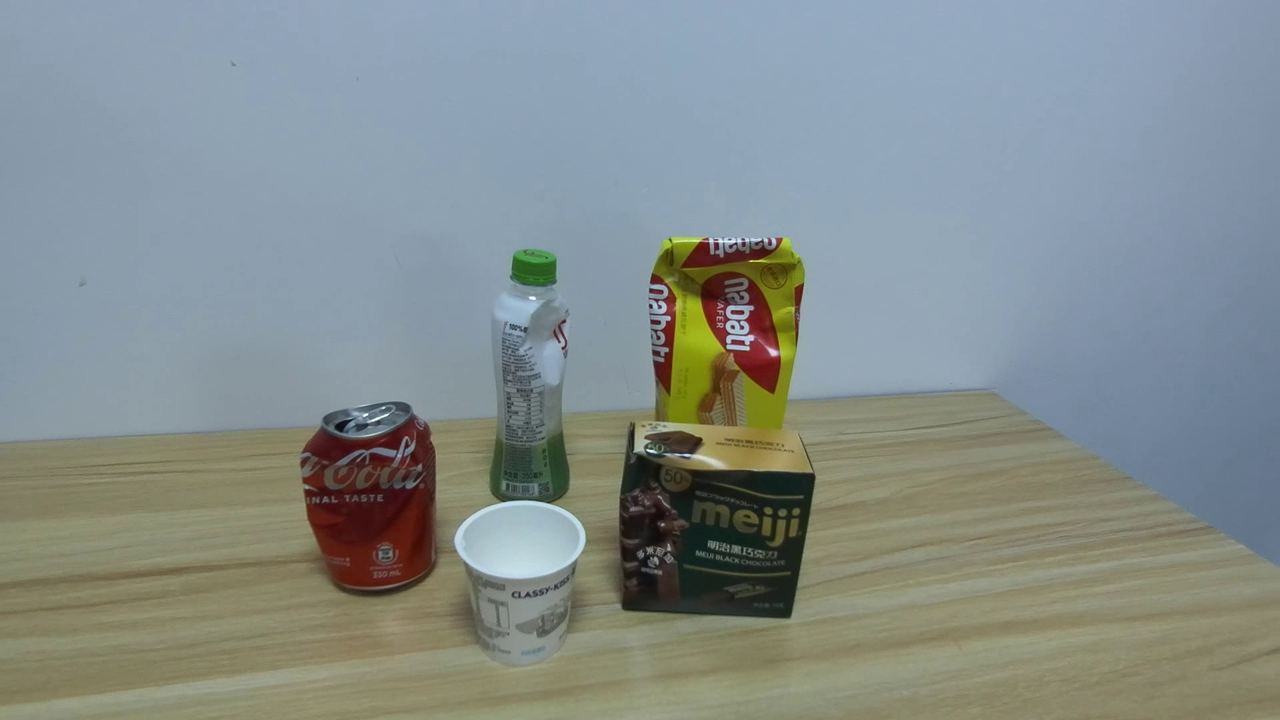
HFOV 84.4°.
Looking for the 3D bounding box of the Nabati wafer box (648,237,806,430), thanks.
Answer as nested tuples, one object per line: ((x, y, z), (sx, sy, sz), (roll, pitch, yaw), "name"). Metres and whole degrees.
((0.063, 0.010, 0.537), (0.113, 0.205, 0.042), (-2, 21, -9), "Nabati wafer box")

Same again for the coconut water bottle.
((-0.082, 0.013, 0.531), (0.069, 0.187, 0.069), (4, 19, -1), "coconut water bottle")

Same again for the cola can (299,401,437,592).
((-0.164, 0.085, 0.444), (0.069, 0.112, 0.065), (5, 21, 5), "cola can")

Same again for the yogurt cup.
((-0.068, 0.130, 0.408), (0.072, 0.068, 0.072), (3, 23, -1), "yogurt cup")
